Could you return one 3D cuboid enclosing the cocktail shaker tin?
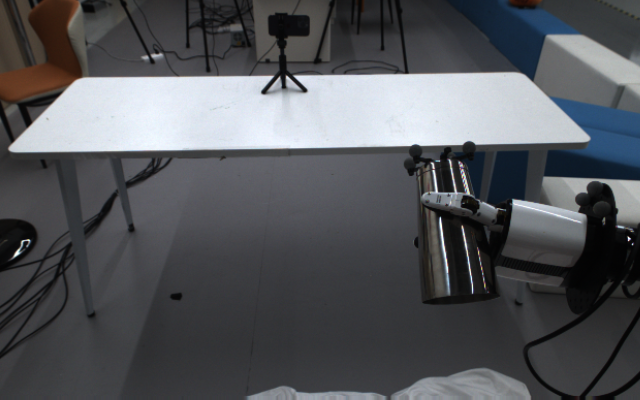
[{"bbox_3d":[0.165,0.039,0.607,0.093,0.093,0.170,-2,71,-6],"label":"cocktail shaker tin"}]
